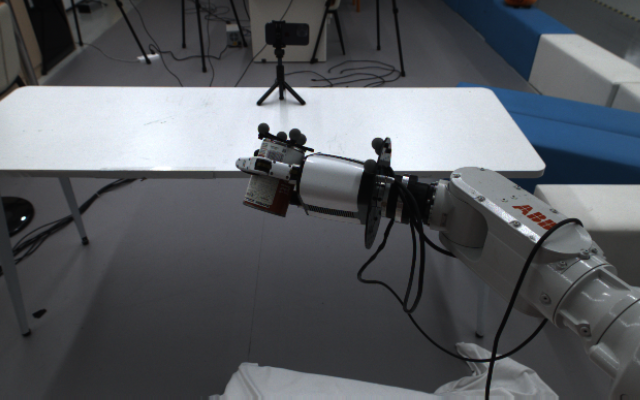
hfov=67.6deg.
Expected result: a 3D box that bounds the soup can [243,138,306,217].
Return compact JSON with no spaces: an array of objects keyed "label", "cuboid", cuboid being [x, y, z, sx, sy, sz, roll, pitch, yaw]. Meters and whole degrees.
[{"label":"soup can","cuboid":[-0.068,-0.031,0.715,0.067,0.101,0.067,17,-1,0]}]
